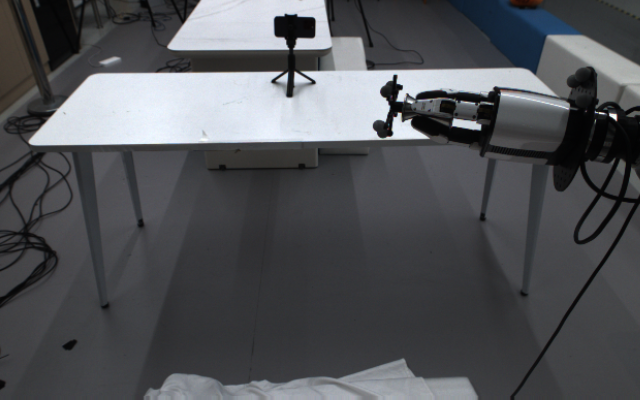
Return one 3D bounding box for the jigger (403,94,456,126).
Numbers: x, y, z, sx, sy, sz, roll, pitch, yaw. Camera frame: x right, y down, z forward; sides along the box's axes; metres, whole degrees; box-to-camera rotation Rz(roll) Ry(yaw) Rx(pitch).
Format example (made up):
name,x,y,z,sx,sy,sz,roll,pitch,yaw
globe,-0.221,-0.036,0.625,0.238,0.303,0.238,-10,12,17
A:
name,x,y,z,sx,sy,sz,roll,pitch,yaw
jigger,0.156,-0.128,0.671,0.071,0.043,0.043,10,35,16
